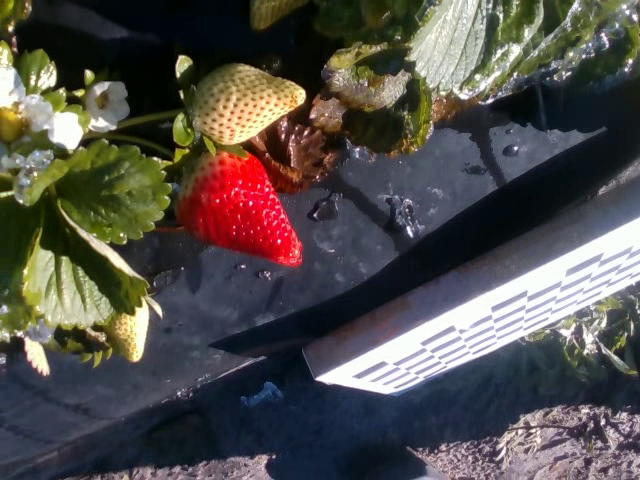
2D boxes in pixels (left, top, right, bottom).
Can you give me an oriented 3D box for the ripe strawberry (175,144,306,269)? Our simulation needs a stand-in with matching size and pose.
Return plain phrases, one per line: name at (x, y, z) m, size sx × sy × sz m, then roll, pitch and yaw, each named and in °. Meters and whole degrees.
ripe strawberry at (-0.026, -0.008, 0.217) m, size 0.040 × 0.053 × 0.042 m, roll -50°, pitch -5°, yaw 39°
